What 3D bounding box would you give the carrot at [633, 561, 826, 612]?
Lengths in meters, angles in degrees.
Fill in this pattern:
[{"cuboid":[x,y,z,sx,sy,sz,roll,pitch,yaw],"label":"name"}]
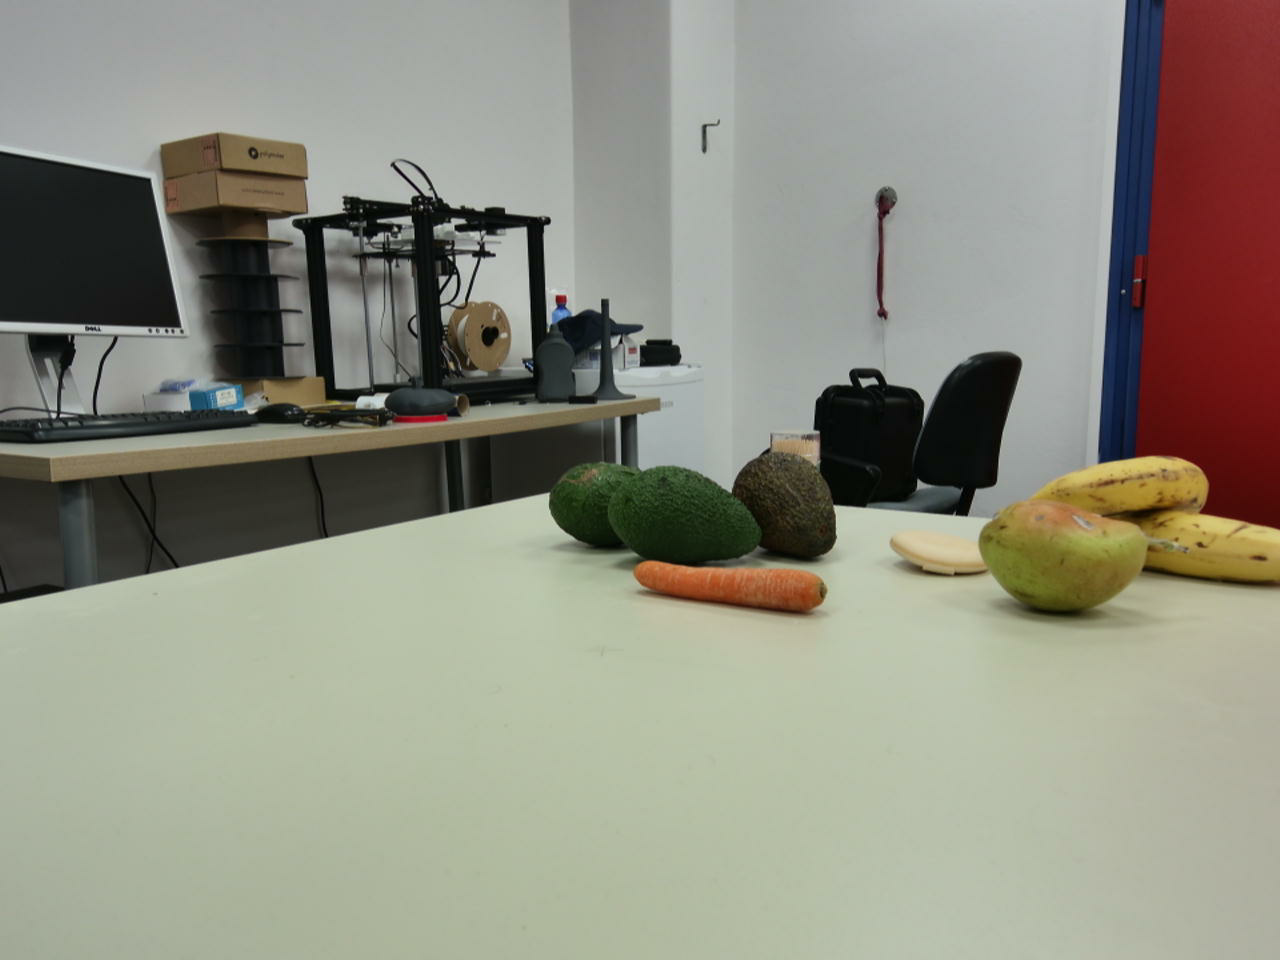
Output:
[{"cuboid":[0.049,0.059,0.579,0.122,0.023,0.024,5,7,32],"label":"carrot"}]
